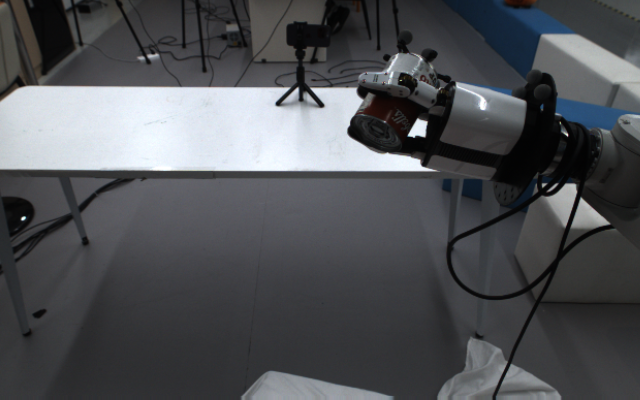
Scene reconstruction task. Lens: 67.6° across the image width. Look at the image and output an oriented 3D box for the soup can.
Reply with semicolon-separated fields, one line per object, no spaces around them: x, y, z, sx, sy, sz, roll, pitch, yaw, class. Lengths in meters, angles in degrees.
0.091;-0.117;0.577;0.067;0.067;0.101;22;71;27;soup can
